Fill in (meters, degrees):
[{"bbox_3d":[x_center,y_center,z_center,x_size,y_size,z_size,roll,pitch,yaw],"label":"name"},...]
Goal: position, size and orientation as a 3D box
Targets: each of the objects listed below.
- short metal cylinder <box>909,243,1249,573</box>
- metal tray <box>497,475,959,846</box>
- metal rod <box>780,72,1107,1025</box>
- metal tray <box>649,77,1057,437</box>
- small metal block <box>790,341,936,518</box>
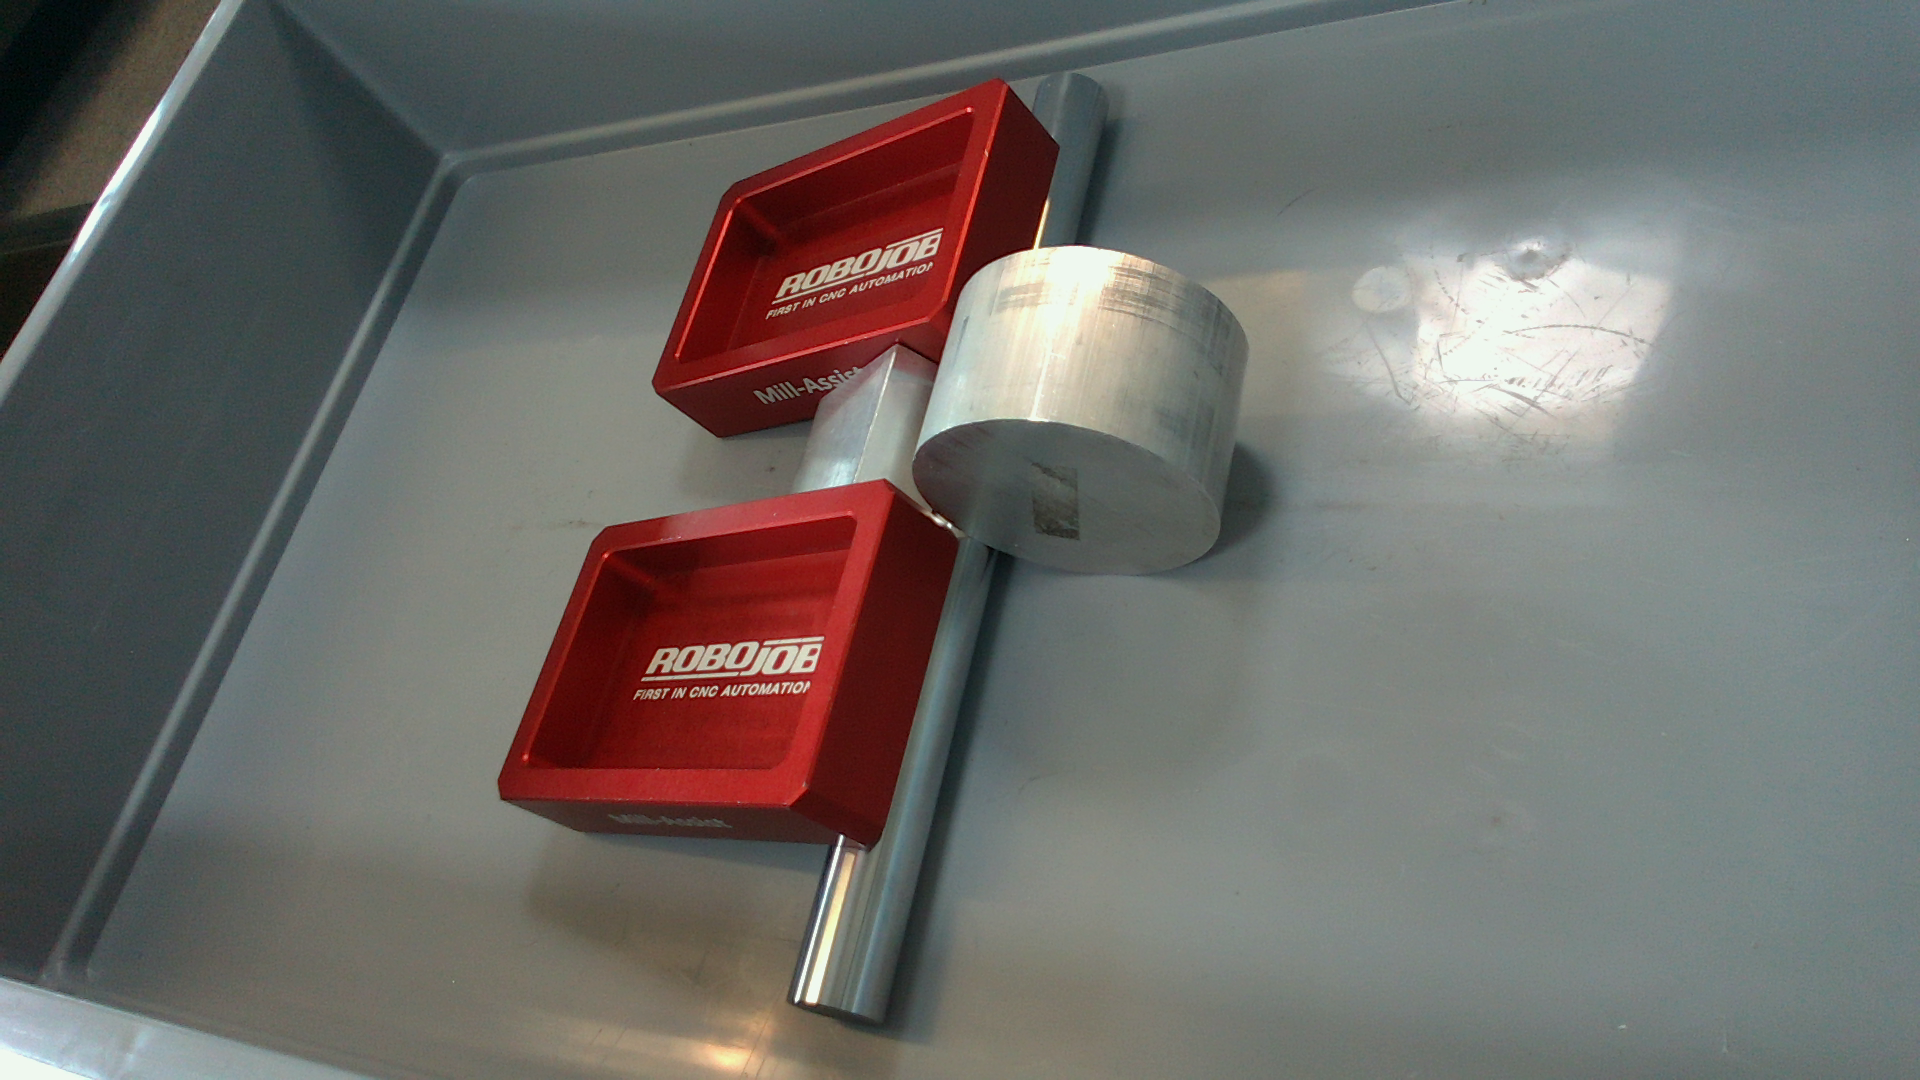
[{"bbox_3d":[0.032,-0.032,0.359,0.080,0.080,0.050,0,62,29],"label":"short metal cylinder"},{"bbox_3d":[-0.068,0.035,0.386,0.129,0.030,0.090,-7,58,39],"label":"metal tray"},{"bbox_3d":[0.003,-0.016,0.400,0.025,0.025,0.300,0,62,29],"label":"metal rod"},{"bbox_3d":[-0.037,-0.088,0.445,0.129,0.030,0.090,-8,57,39],"label":"metal tray"},{"bbox_3d":[-0.027,-0.024,0.408,0.050,0.025,0.050,-24,45,55],"label":"small metal block"}]
